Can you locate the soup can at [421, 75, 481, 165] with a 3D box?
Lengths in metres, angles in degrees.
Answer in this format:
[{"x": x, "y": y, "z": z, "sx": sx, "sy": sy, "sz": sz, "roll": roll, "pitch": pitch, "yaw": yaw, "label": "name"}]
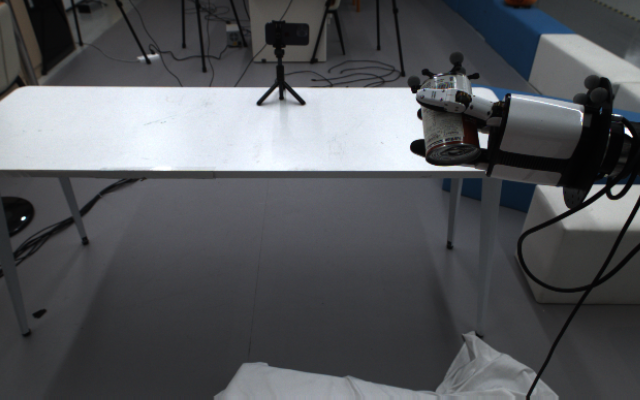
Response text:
[{"x": 0.166, "y": -0.105, "z": 0.625, "sx": 0.067, "sy": 0.067, "sz": 0.101, "roll": 0, "pitch": 72, "yaw": -4, "label": "soup can"}]
